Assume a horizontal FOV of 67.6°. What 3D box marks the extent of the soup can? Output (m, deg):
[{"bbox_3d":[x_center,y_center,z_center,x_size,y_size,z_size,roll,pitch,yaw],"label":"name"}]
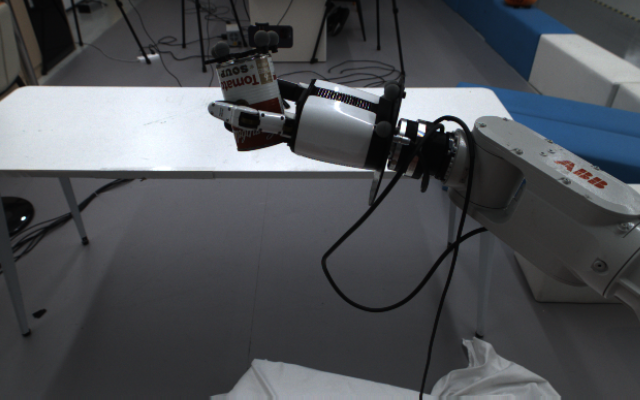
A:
[{"bbox_3d":[-0.077,-0.115,0.578,0.067,0.101,0.067,-12,17,4],"label":"soup can"}]
